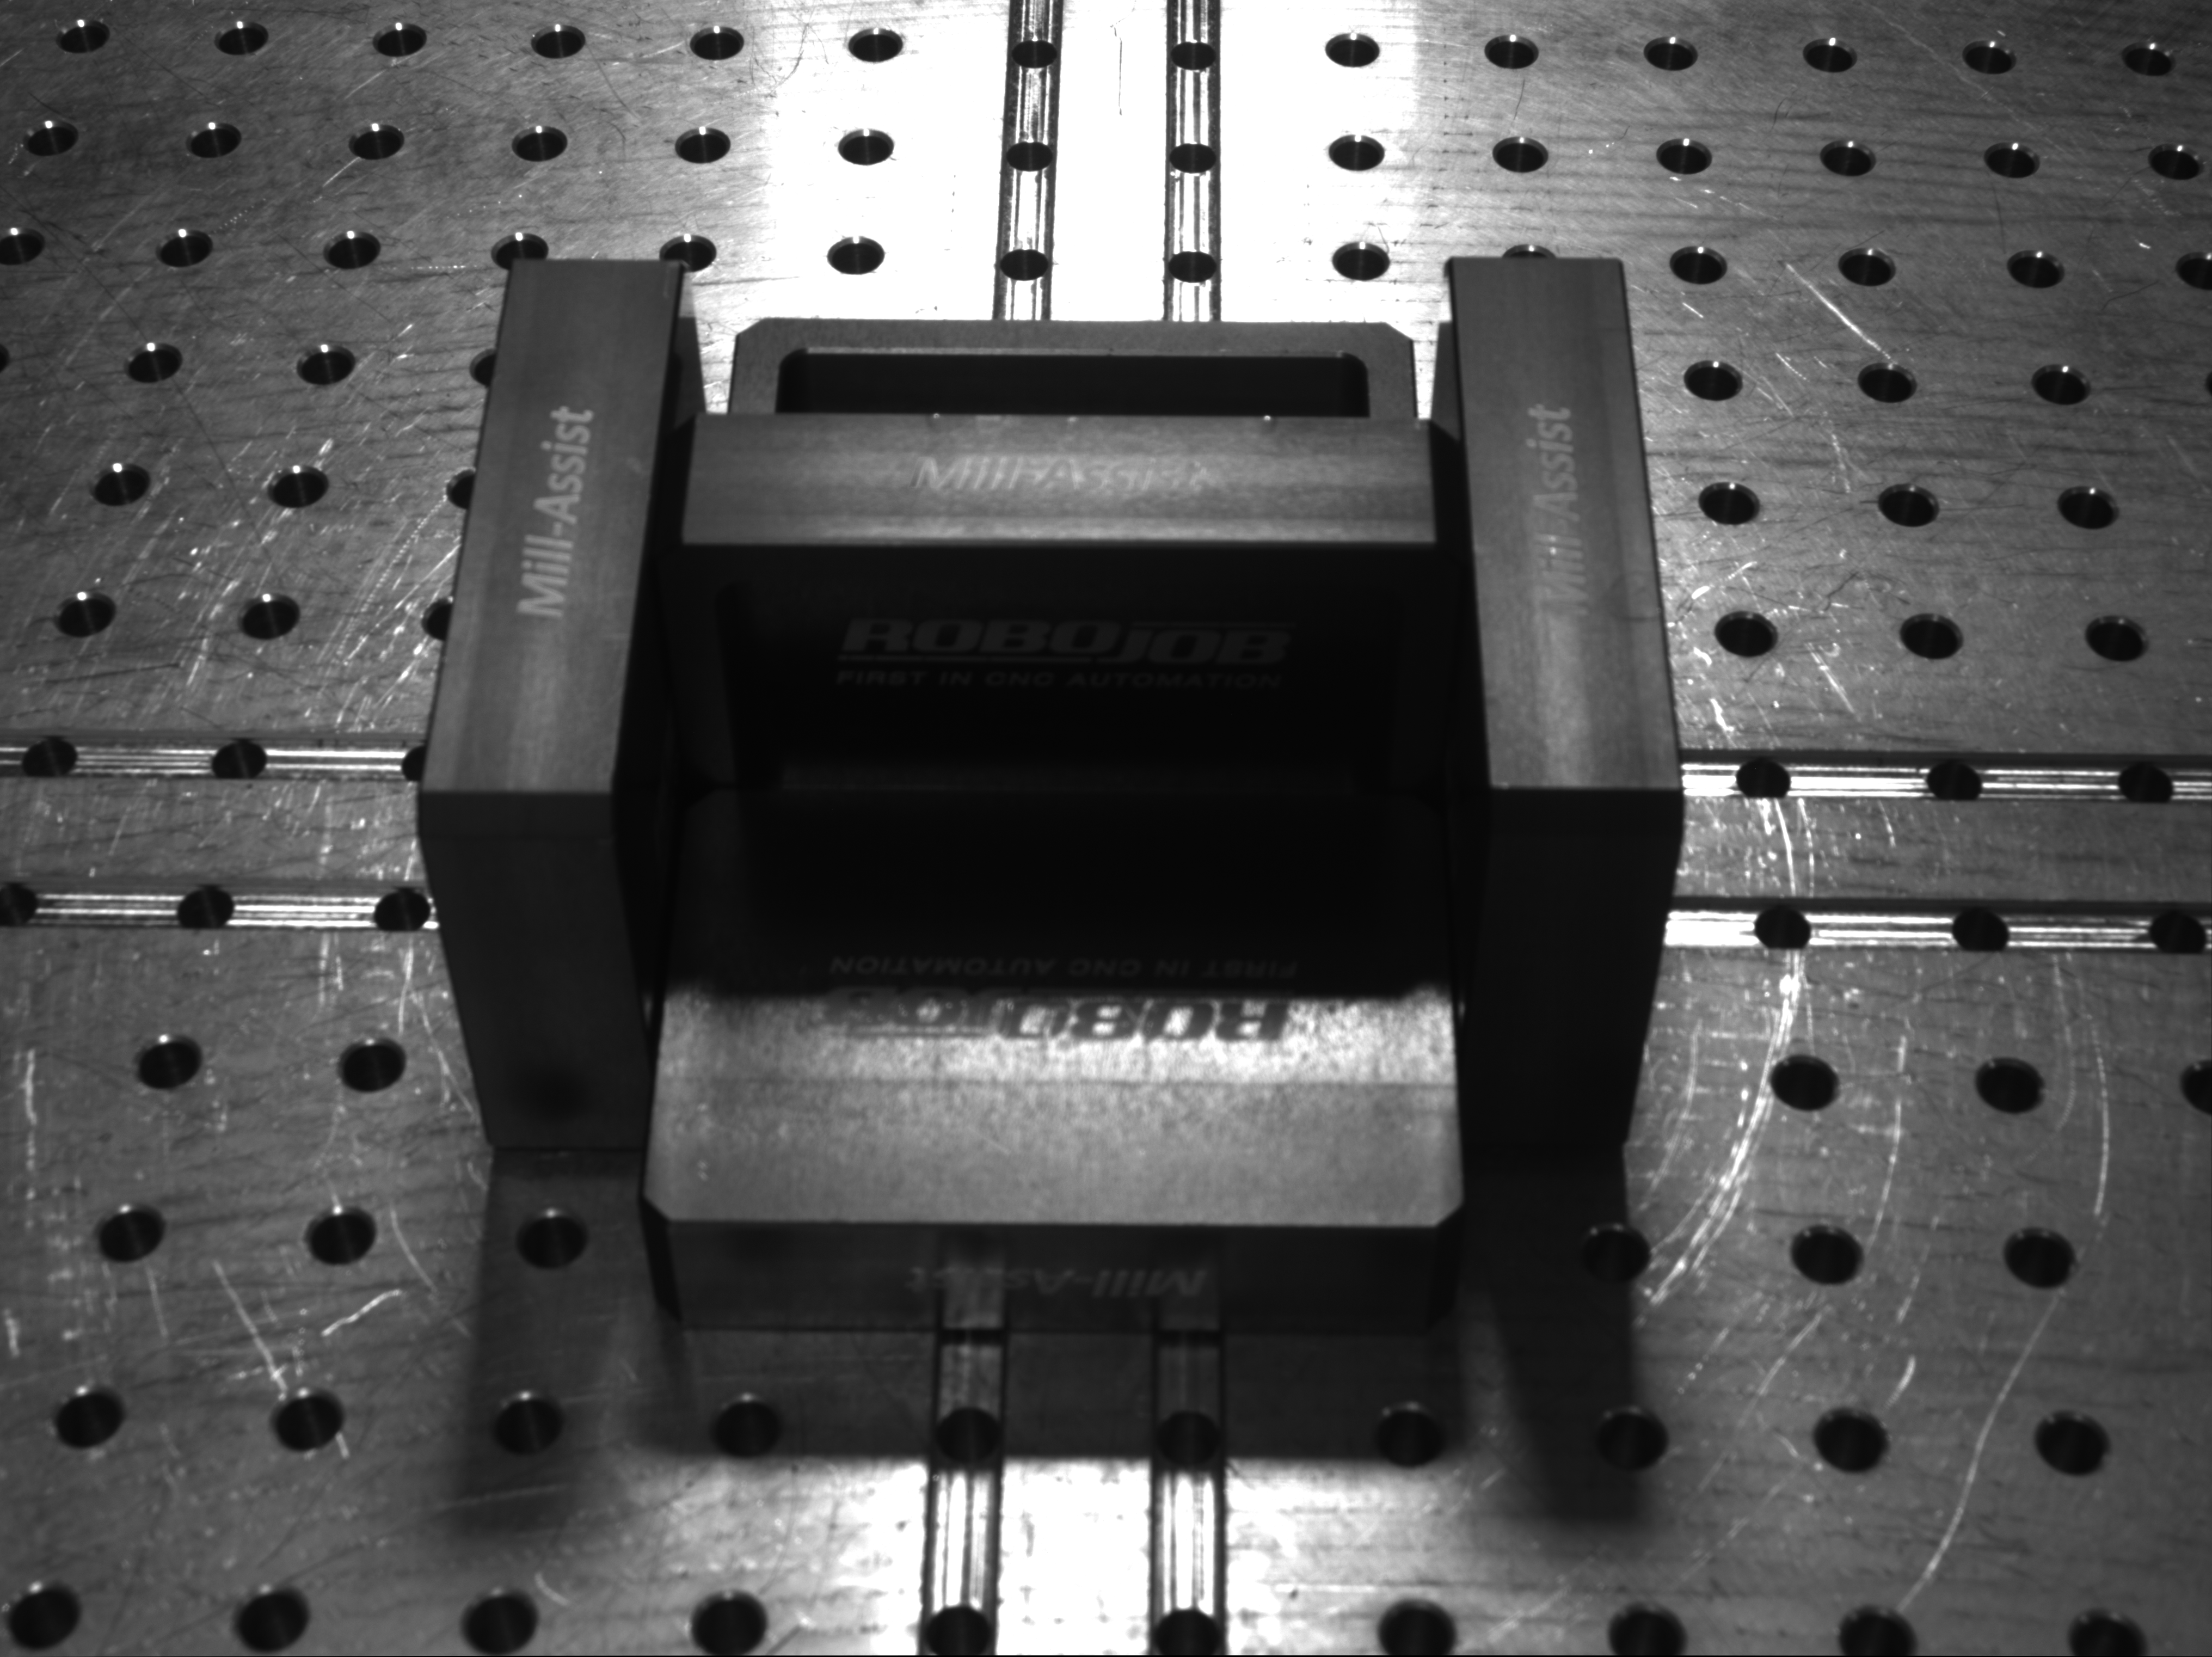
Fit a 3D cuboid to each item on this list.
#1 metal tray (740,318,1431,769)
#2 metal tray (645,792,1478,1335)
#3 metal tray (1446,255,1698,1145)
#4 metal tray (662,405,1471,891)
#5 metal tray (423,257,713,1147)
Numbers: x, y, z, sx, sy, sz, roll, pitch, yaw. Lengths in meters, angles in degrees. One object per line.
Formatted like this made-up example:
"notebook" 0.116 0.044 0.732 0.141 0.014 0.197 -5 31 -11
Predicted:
"metal tray" -0.004 -0.055 0.688 0.130 0.030 0.090 1 50 0
"metal tray" -0.006 0.038 0.608 0.130 0.030 0.090 1 50 0
"metal tray" 0.075 -0.023 0.621 0.030 0.090 0.130 1 50 1
"metal tray" -0.006 -0.029 0.625 0.130 0.090 0.030 1 50 1
"metal tray" -0.086 -0.023 0.621 0.030 0.090 0.130 1 50 1
